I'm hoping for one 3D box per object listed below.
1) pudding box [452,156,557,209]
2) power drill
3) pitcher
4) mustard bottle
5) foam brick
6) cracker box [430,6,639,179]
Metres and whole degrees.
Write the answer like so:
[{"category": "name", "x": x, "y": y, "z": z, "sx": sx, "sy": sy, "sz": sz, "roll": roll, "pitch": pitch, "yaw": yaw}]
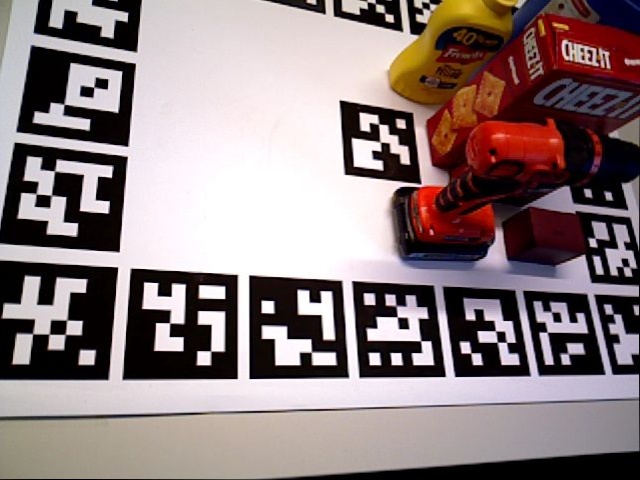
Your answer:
[{"category": "pudding box", "x": 0.225, "y": -0.076, "z": 0.628, "sx": 0.112, "sy": 0.092, "sz": 0.038, "roll": 4, "pitch": 68, "yaw": -17}, {"category": "power drill", "x": 0.195, "y": -0.045, "z": 0.527, "sx": 0.182, "sy": 0.191, "sz": 0.057, "roll": 3, "pitch": 66, "yaw": -21}, {"category": "pitcher", "x": 0.287, "y": -0.234, "z": 0.640, "sx": 0.187, "sy": 0.247, "sz": 0.132, "roll": 9, "pitch": 68, "yaw": -16}, {"category": "mustard bottle", "x": 0.159, "y": -0.239, "z": 0.605, "sx": 0.095, "sy": 0.195, "sz": 0.058, "roll": 17, "pitch": 66, "yaw": -15}, {"category": "foam brick", "x": 0.270, "y": 0.000, "z": 0.657, "sx": 0.077, "sy": 0.052, "sz": 0.052, "roll": 6, "pitch": 71, "yaw": -19}, {"category": "cracker box", "x": 0.248, "y": -0.139, "z": 0.597, "sx": 0.162, "sy": 0.218, "sz": 0.071, "roll": 1, "pitch": 68, "yaw": -18}]
